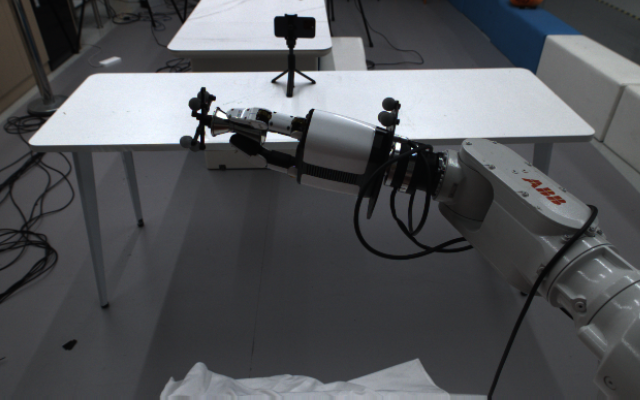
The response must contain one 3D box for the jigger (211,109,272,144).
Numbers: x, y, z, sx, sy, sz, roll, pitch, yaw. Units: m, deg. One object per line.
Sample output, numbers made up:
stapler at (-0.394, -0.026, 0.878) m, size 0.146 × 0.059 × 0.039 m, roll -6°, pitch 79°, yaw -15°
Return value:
jigger at (-0.104, -0.102, 0.649) m, size 0.071 × 0.043 × 0.043 m, roll 10°, pitch 35°, yaw 1°
